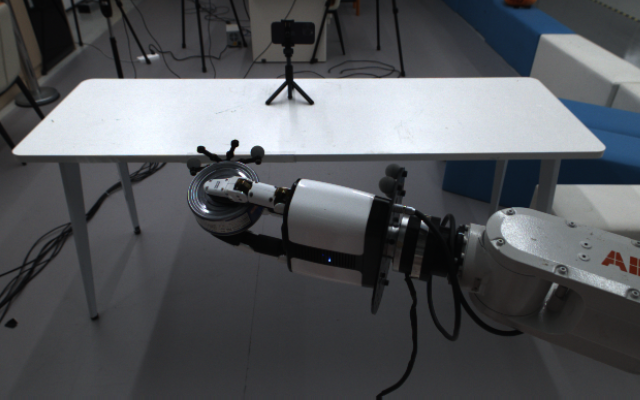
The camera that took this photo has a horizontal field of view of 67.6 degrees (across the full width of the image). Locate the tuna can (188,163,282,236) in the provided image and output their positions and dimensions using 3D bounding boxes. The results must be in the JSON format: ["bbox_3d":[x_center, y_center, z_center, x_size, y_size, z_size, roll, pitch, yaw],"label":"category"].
[{"bbox_3d":[-0.104,0.003,0.561,0.085,0.034,0.085,-3,60,5],"label":"tuna can"}]
